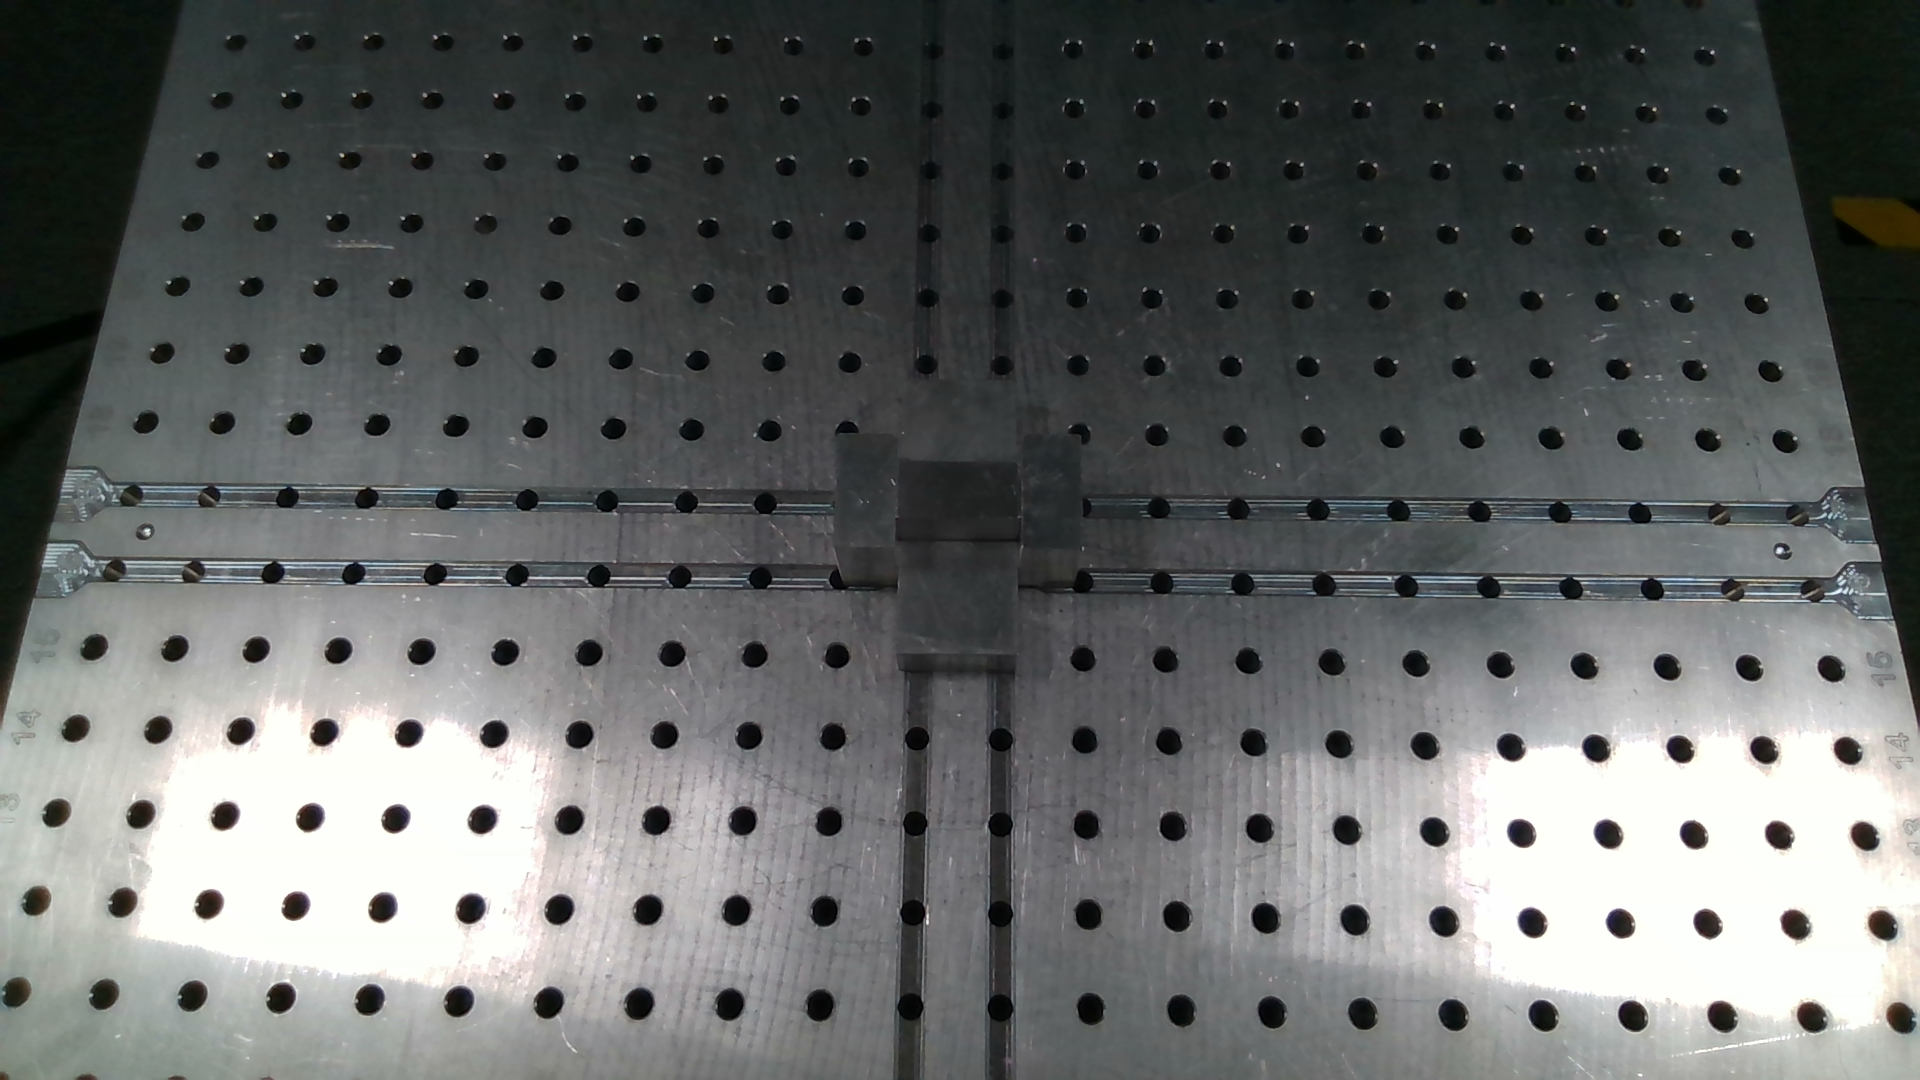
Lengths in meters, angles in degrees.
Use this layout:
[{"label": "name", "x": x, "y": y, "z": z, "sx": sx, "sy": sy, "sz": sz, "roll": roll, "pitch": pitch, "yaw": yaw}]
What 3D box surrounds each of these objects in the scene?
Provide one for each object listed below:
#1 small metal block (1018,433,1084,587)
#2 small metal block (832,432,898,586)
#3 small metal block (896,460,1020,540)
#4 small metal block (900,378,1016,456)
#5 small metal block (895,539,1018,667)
[{"label": "small metal block", "x": 0.037, "y": -0.012, "z": 0.581, "sx": 0.025, "sy": 0.050, "sz": 0.050, "roll": 1, "pitch": 70, "yaw": 0}, {"label": "small metal block", "x": -0.038, "y": -0.012, "z": 0.581, "sx": 0.025, "sy": 0.050, "sz": 0.050, "roll": 1, "pitch": 70, "yaw": 0}, {"label": "small metal block", "x": -0.001, "y": -0.012, "z": 0.581, "sx": 0.050, "sy": 0.050, "sz": 0.025, "roll": 1, "pitch": 70, "yaw": 0}, {"label": "small metal block", "x": -0.001, "y": -0.043, "z": 0.606, "sx": 0.050, "sy": 0.025, "sz": 0.050, "roll": 0, "pitch": 70, "yaw": 0}, {"label": "small metal block", "x": -0.001, "y": 0.027, "z": 0.581, "sx": 0.050, "sy": 0.025, "sz": 0.050, "roll": 1, "pitch": 70, "yaw": 0}]
